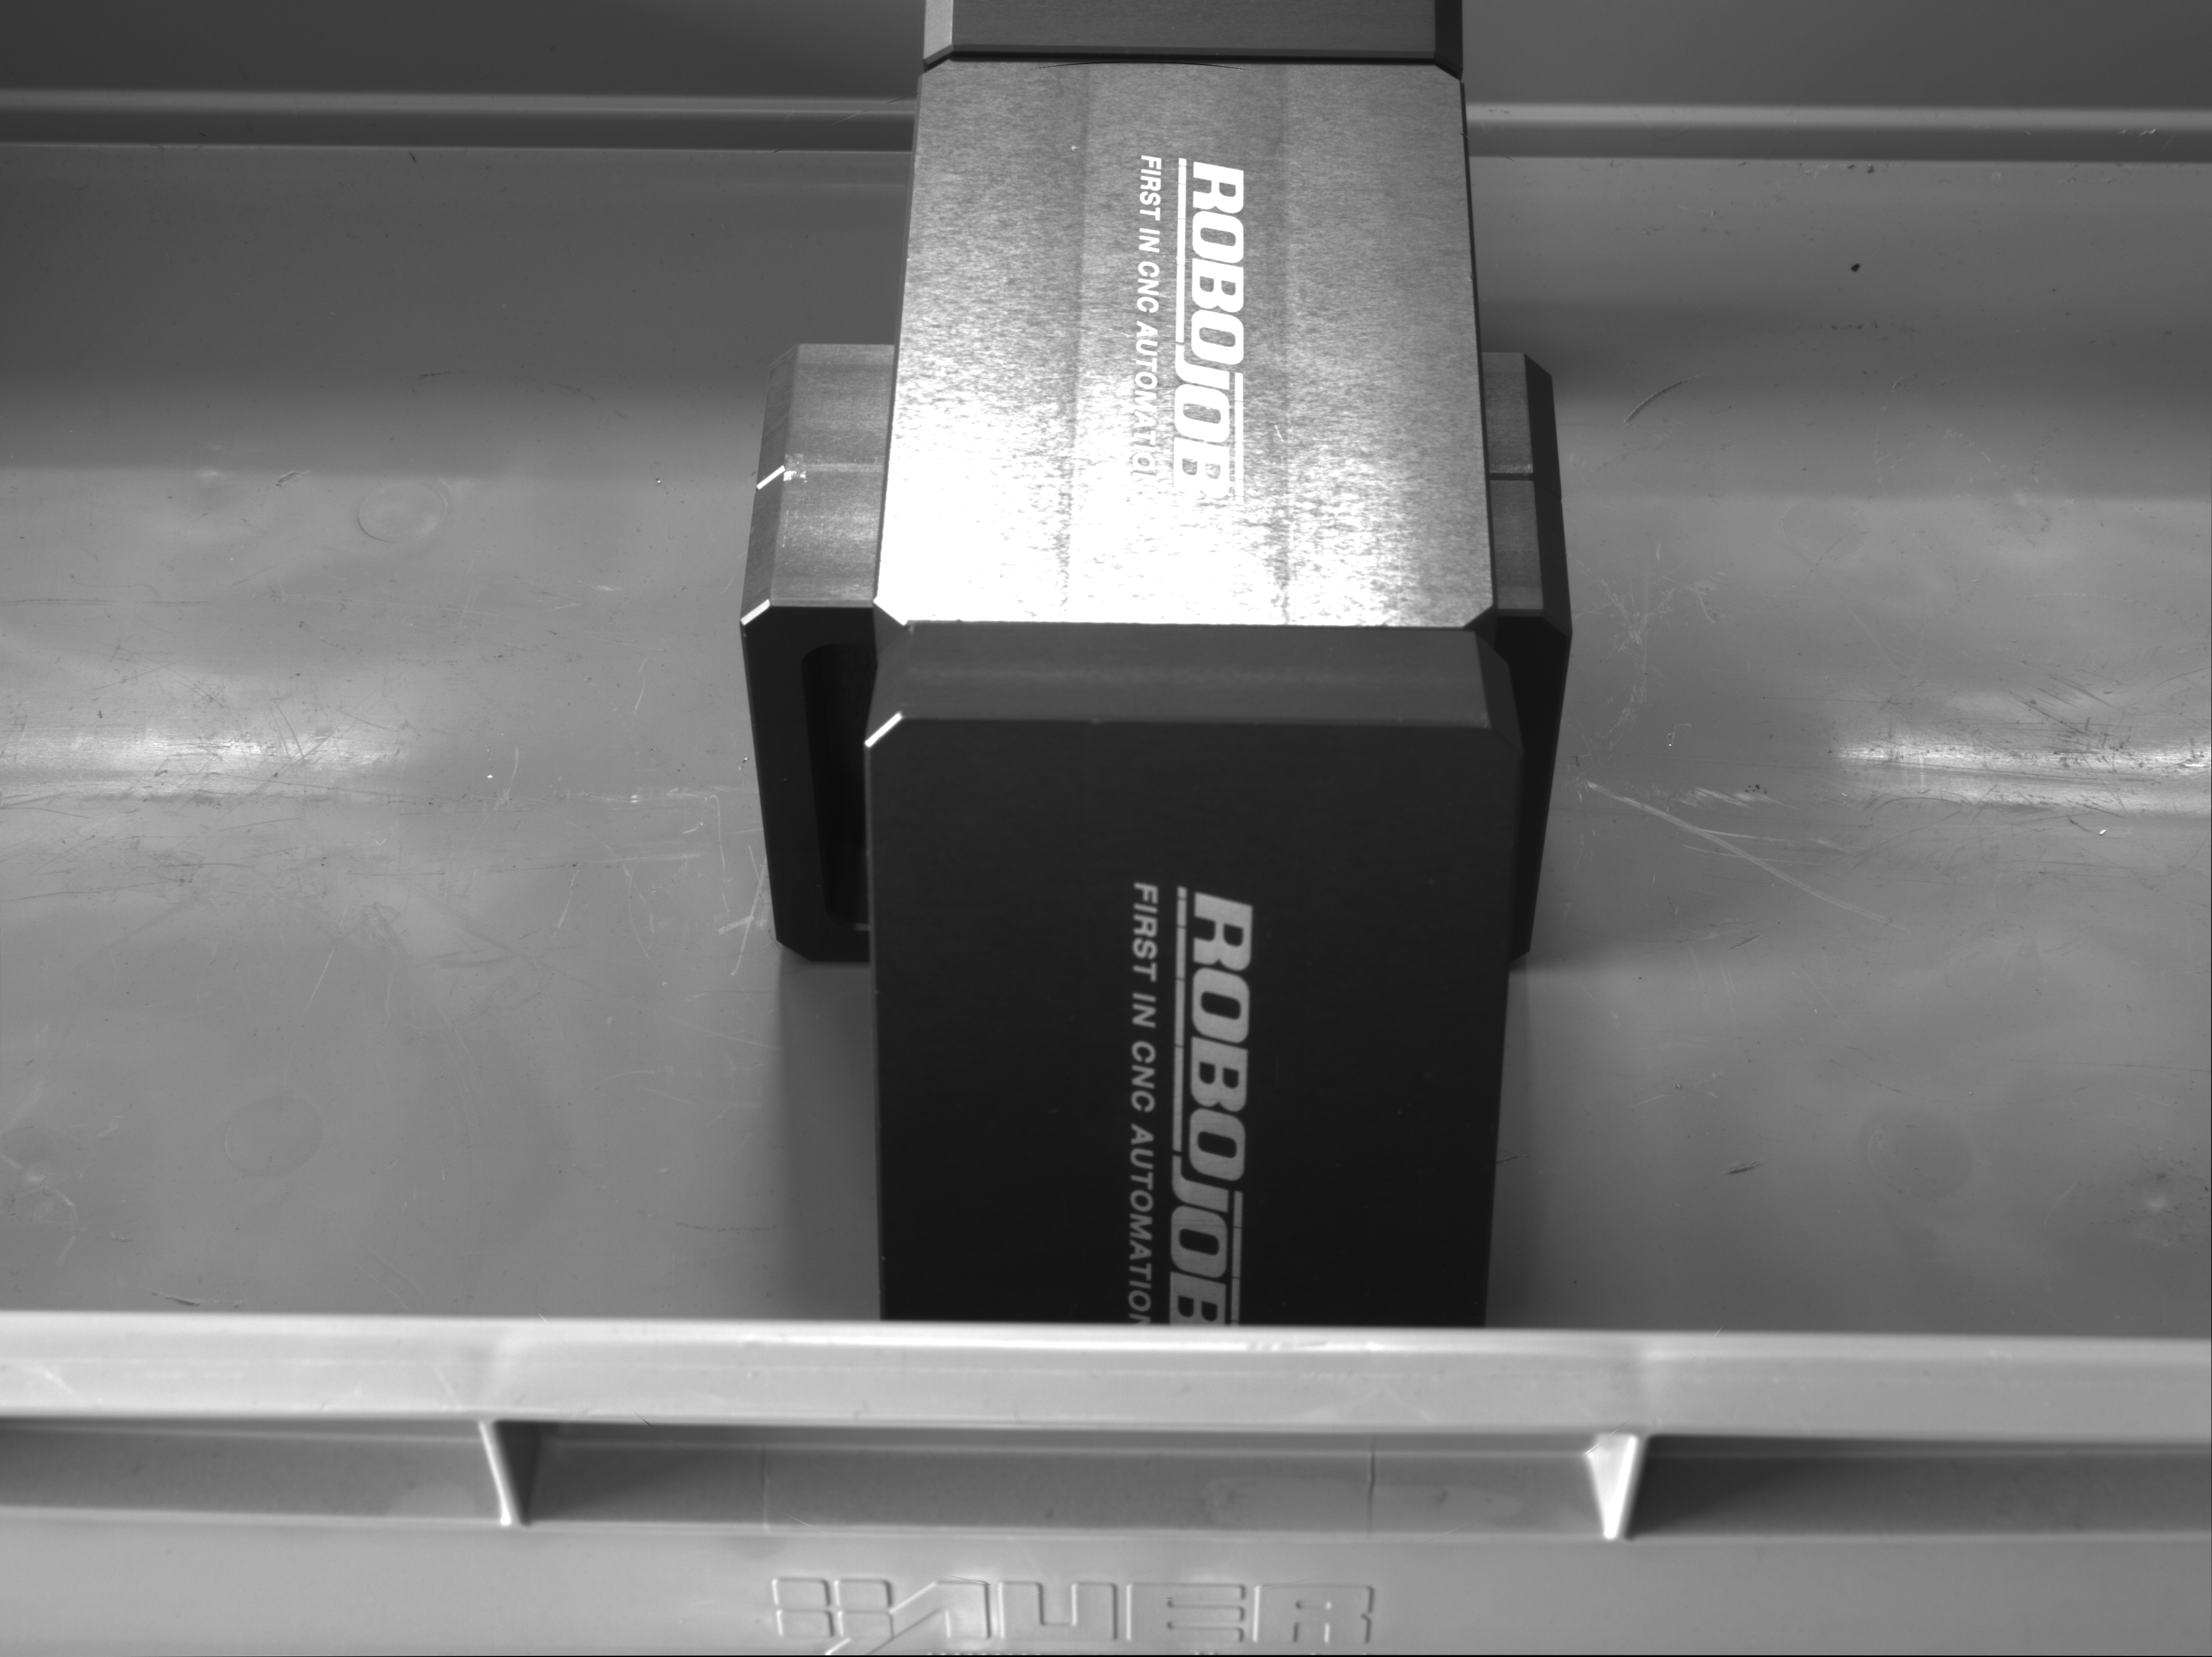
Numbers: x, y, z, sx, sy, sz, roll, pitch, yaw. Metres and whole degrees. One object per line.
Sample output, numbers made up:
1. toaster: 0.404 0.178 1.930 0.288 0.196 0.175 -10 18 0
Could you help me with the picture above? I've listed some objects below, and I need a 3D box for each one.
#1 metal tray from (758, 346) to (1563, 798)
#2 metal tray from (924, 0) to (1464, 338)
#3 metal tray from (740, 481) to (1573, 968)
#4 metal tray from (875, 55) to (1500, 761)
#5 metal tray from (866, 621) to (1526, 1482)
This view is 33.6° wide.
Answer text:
1. metal tray: 0.009 -0.039 0.632 0.130 0.090 0.030 1 50 1
2. metal tray: 0.015 -0.121 0.673 0.090 0.130 0.030 1 70 1
3. metal tray: 0.008 -0.015 0.612 0.130 0.090 0.030 1 50 1
4. metal tray: 0.013 -0.069 0.577 0.090 0.030 0.130 1 50 0
5. metal tray: 0.012 0.035 0.540 0.090 0.130 0.030 1 28 0
